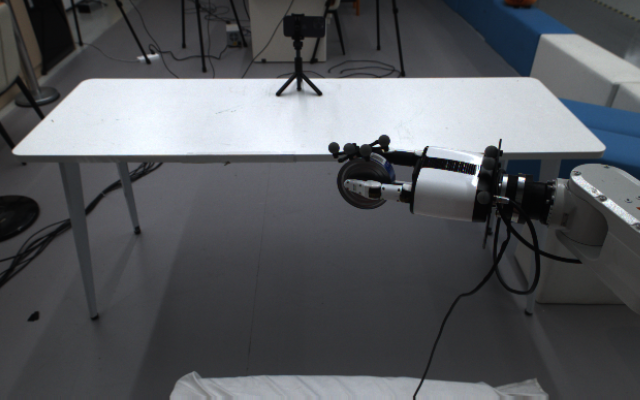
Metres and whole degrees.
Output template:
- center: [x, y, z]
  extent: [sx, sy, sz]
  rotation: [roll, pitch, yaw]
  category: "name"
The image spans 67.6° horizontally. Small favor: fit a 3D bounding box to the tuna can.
- center: [0.073, -0.031, 0.746]
  extent: [0.085, 0.085, 0.034]
  rotation: [13, 28, 15]
  category: "tuna can"
